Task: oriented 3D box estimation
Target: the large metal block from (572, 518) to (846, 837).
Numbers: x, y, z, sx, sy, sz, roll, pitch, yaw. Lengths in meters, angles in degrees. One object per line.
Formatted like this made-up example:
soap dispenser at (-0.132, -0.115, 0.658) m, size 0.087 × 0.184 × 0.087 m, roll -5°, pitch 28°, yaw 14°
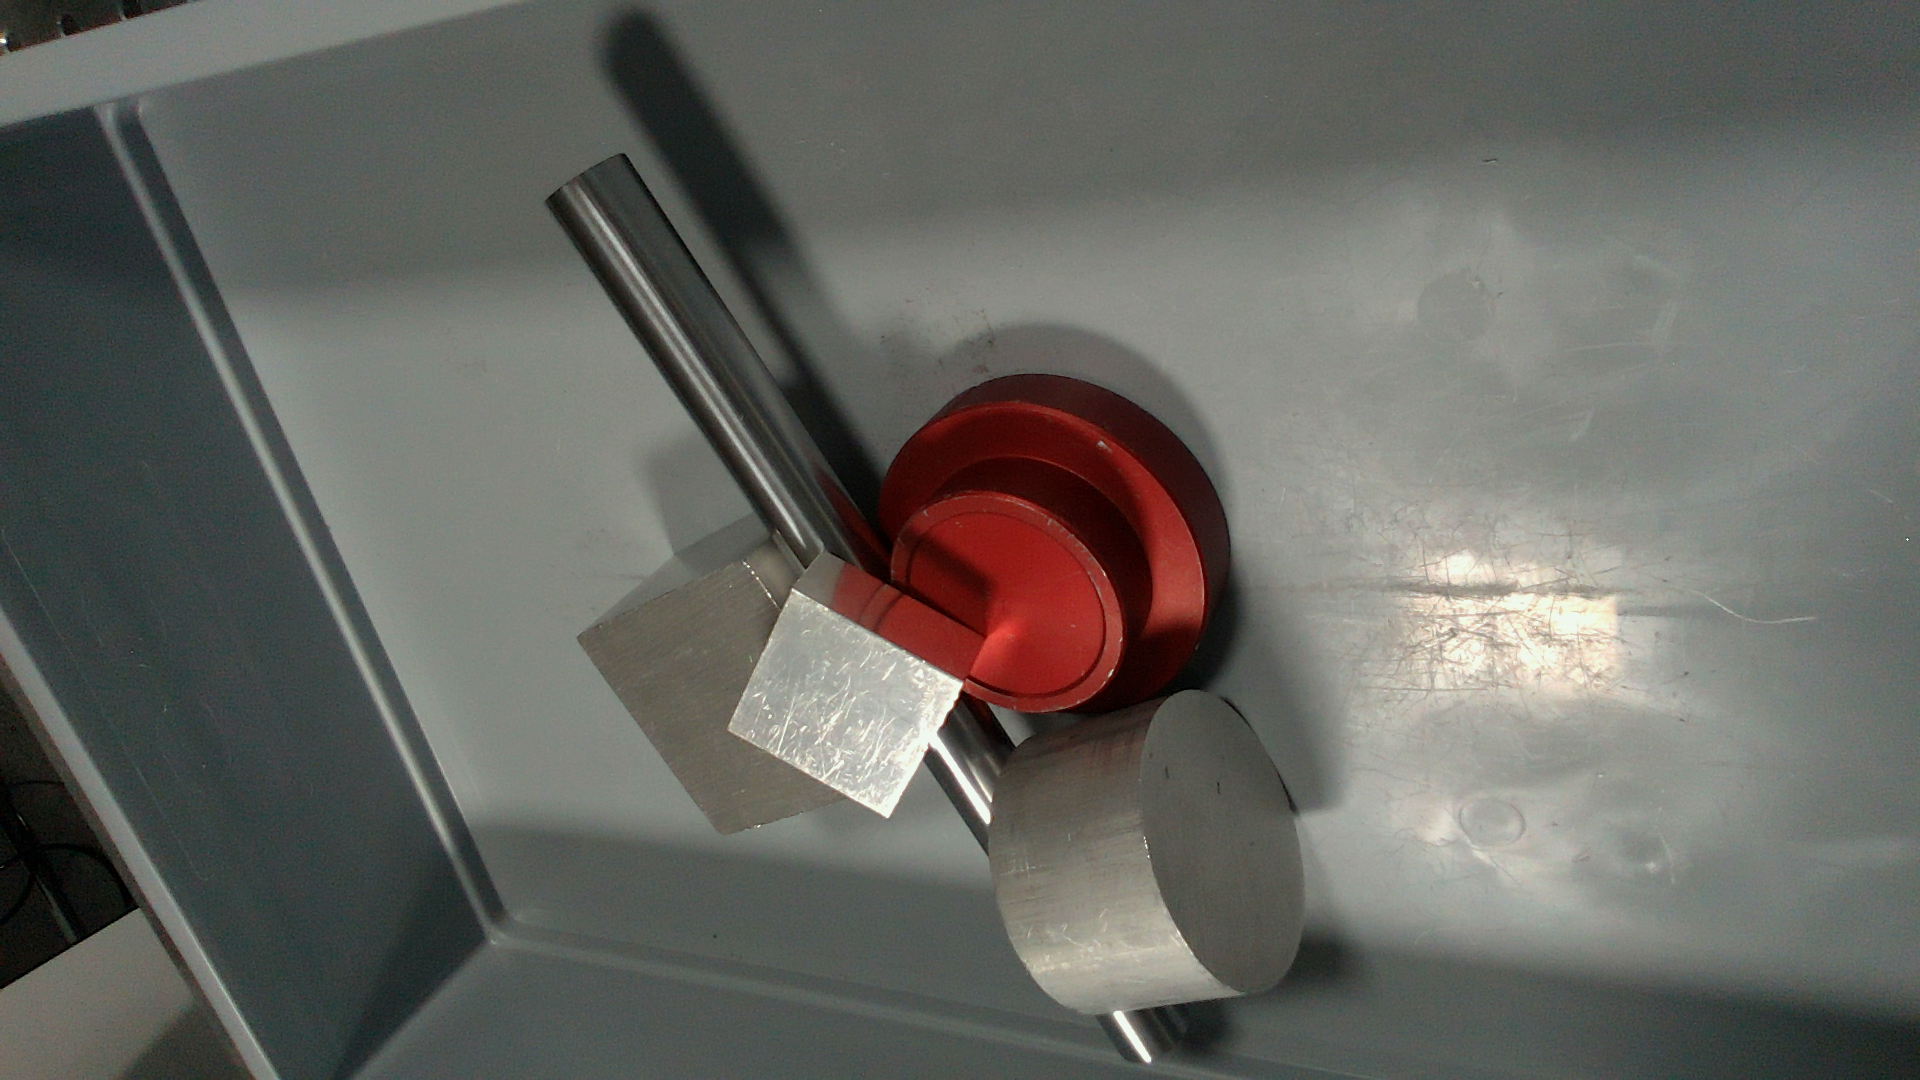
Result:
large metal block at (-0.058, 0.038, 0.427) m, size 0.080 × 0.050 × 0.080 m, roll -22°, pitch 106°, yaw 36°

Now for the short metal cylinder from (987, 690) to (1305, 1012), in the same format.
short metal cylinder at (0.053, 0.087, 0.381) m, size 0.050 × 0.080 × 0.080 m, roll -23°, pitch 106°, yaw 36°

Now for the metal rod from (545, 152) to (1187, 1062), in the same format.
metal rod at (-0.019, 0.029, 0.393) m, size 0.025 × 0.025 × 0.300 m, roll -23°, pitch 106°, yaw 36°

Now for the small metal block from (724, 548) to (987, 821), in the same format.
small metal block at (-0.028, 0.039, 0.368) m, size 0.050 × 0.025 × 0.050 m, roll 29°, pitch 117°, yaw 1°

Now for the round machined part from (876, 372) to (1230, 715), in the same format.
round machined part at (0.020, 0.008, 0.374) m, size 0.098 × 0.042 × 0.098 m, roll 13°, pitch 124°, yaw 21°
